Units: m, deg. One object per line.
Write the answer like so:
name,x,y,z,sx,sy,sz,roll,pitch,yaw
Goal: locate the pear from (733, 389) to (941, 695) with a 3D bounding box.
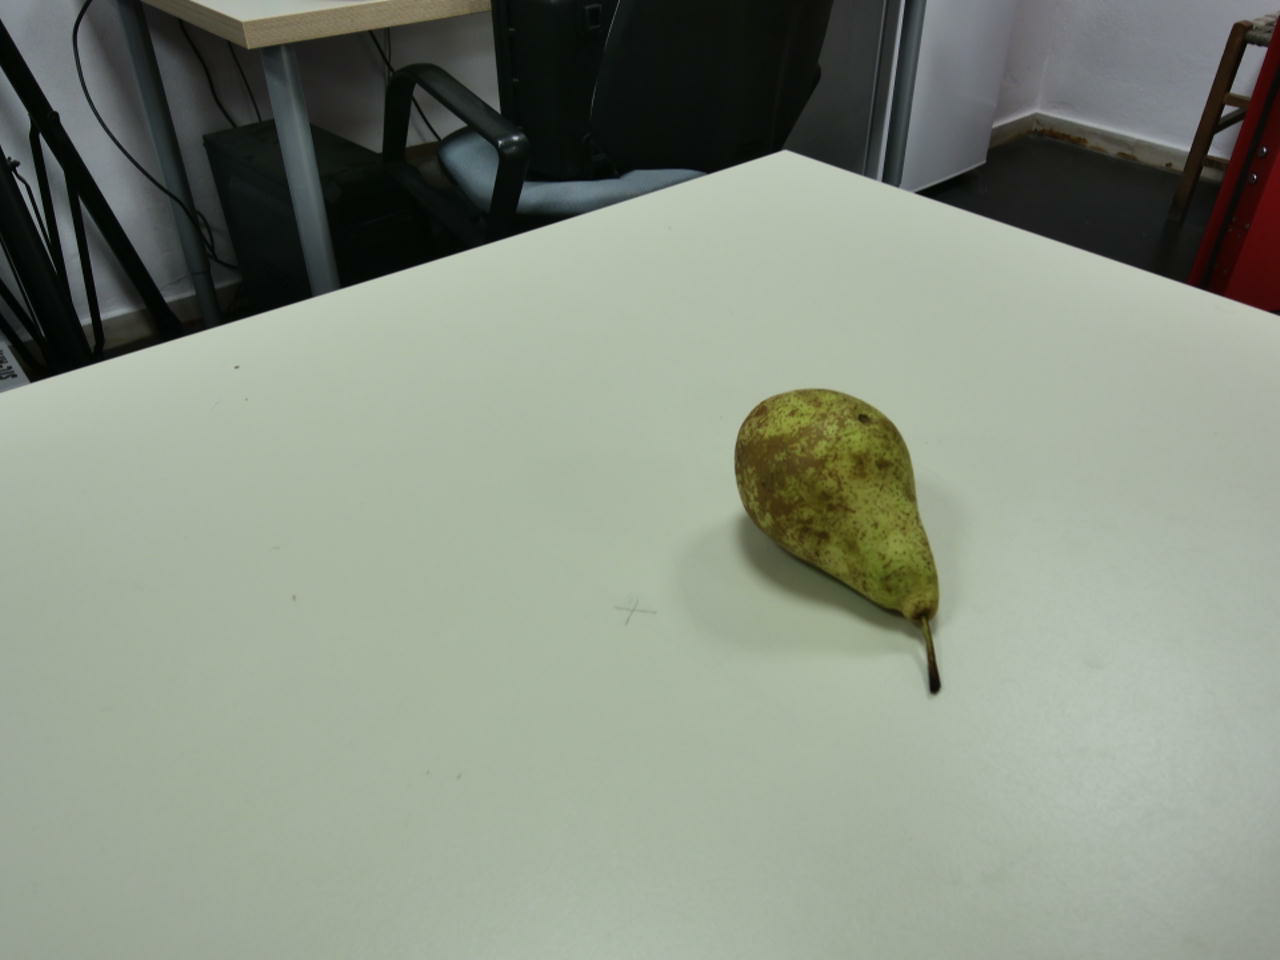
pear,0.092,0.008,0.416,0.128,0.075,0.071,31,44,35
